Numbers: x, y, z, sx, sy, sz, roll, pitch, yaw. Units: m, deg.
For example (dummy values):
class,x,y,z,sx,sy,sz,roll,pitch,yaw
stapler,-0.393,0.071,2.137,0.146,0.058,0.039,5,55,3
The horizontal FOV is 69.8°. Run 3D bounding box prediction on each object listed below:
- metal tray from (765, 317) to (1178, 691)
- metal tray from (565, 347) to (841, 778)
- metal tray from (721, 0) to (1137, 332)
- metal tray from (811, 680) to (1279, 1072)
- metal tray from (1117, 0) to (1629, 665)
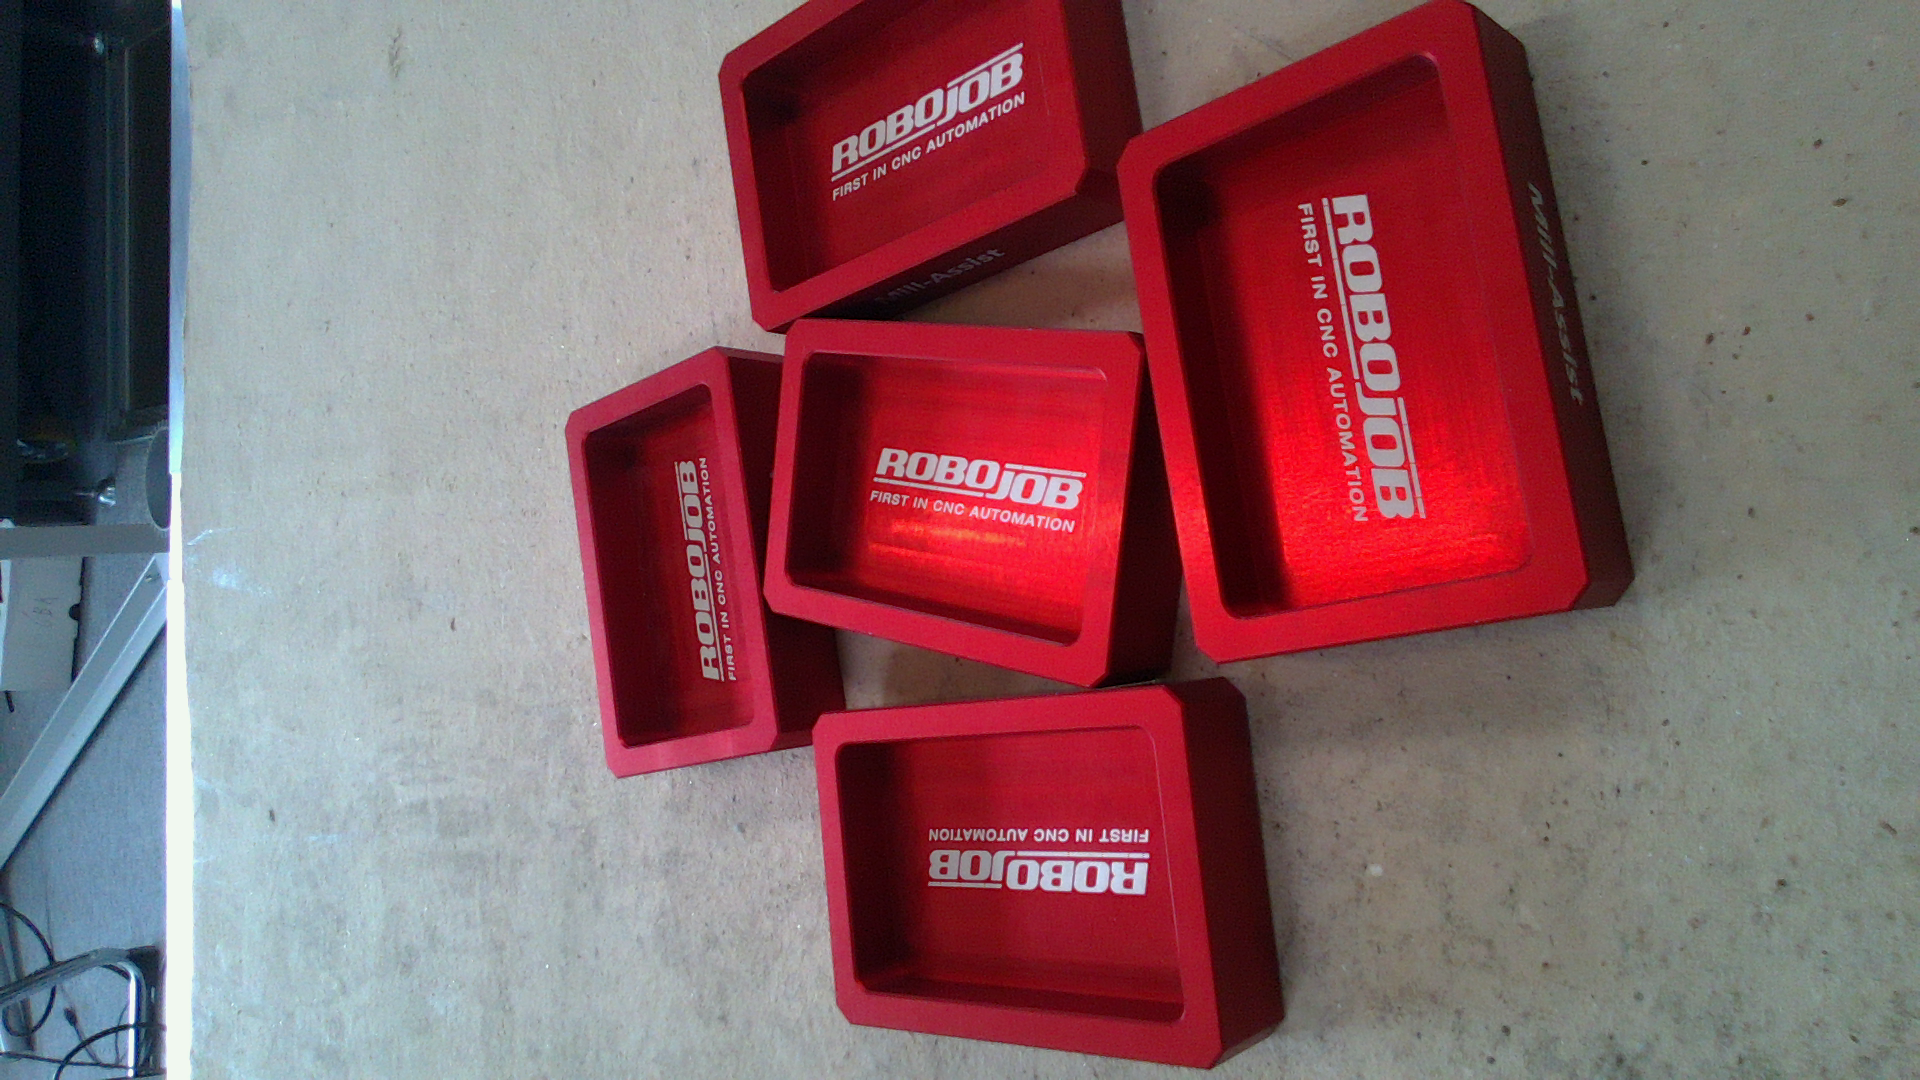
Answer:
class,x,y,z,sx,sy,sz,roll,pitch,yaw
metal tray,0.001,-0.015,0.391,0.129,0.030,0.090,10,98,40
metal tray,-0.089,0.010,0.467,0.090,0.030,0.130,-15,80,39
metal tray,-0.013,-0.120,0.403,0.129,0.030,0.090,-14,81,40
metal tray,0.017,0.088,0.377,0.129,0.030,0.090,-10,84,40
metal tray,0.090,-0.042,0.316,0.090,0.030,0.130,-14,81,40
